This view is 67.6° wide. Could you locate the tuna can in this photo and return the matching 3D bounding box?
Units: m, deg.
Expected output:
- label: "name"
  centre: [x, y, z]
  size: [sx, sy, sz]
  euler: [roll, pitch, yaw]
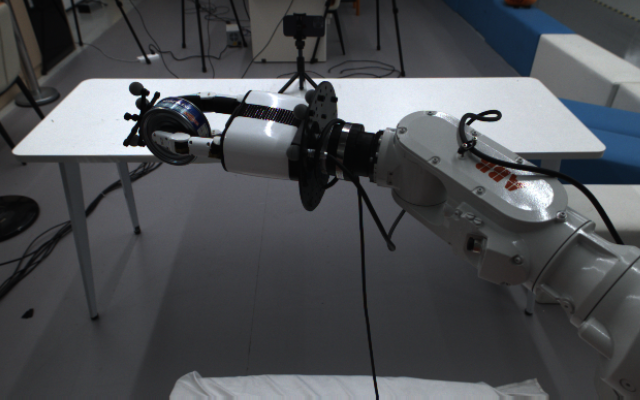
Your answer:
- label: "tuna can"
  centre: [-0.188, -0.091, 0.634]
  size: [0.085, 0.085, 0.034]
  euler: [8, 36, 9]
